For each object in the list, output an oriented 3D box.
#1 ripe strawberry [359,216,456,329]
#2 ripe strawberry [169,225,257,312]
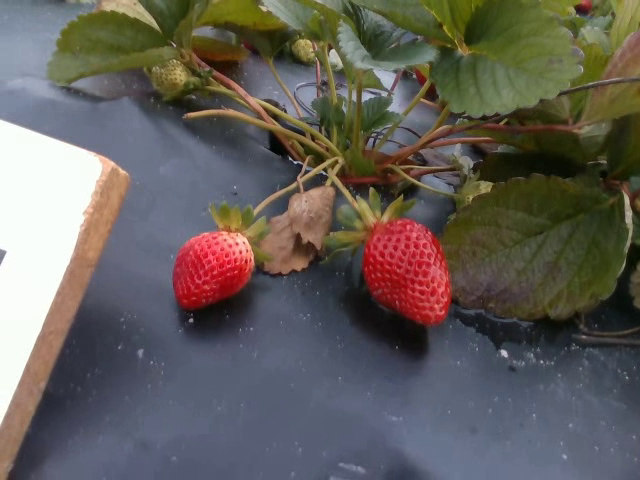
[{"bbox_3d":[0.036,0.012,0.250,0.044,0.059,0.042,-30,-34,7],"label":"ripe strawberry"},{"bbox_3d":[-0.043,0.010,0.241,0.036,0.041,0.028,16,-29,15],"label":"ripe strawberry"}]
